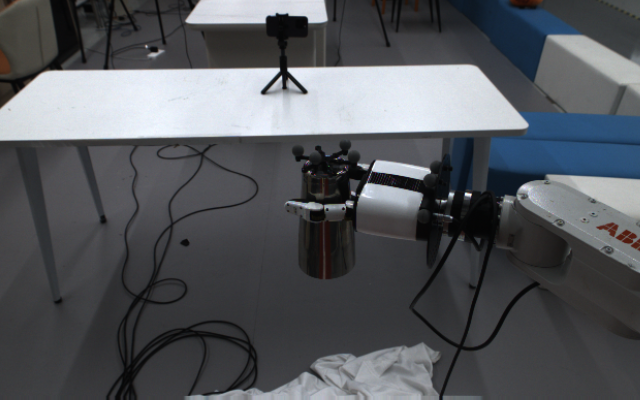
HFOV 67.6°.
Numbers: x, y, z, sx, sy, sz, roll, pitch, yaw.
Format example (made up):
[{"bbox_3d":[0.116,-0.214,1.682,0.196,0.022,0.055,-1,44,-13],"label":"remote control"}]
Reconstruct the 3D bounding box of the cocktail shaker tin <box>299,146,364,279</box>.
[{"bbox_3d":[0.013,0.021,0.726,0.093,0.170,0.093,-1,32,0],"label":"cocktail shaker tin"}]
